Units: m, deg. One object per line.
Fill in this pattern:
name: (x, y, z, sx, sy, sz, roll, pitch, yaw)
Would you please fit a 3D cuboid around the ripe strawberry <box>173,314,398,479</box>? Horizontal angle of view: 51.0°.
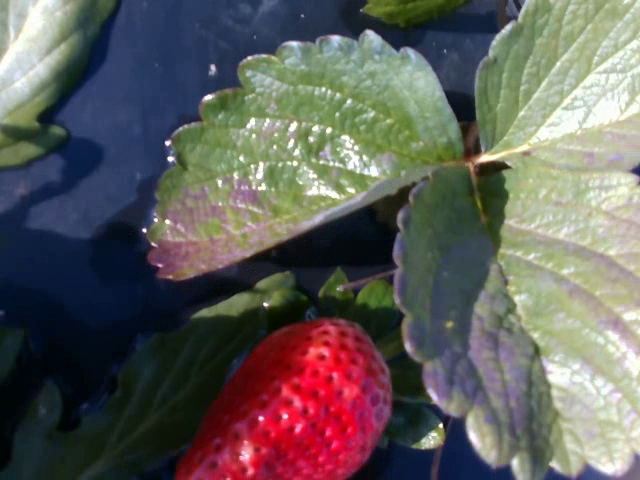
ripe strawberry: (-0.007, 0.033, 0.114, 0.053, 0.044, 0.036, -10, 39, -46)
